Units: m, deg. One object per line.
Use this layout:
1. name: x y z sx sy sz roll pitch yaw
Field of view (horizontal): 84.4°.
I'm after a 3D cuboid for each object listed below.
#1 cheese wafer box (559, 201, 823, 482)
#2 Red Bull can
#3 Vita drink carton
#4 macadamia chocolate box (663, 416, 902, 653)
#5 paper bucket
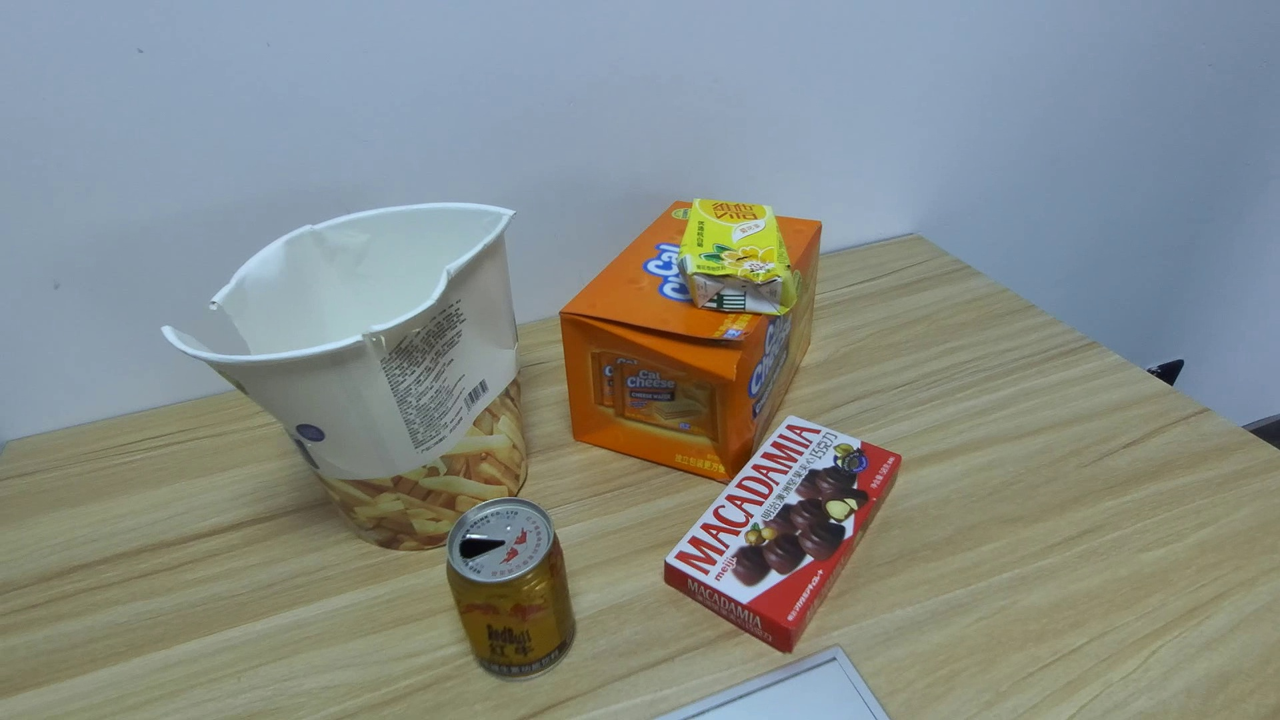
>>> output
1. cheese wafer box: 0.053 -0.029 0.598 0.149 0.137 0.227 14 39 22
2. Red Bull can: -0.074 0.135 0.418 0.068 0.093 0.068 -3 34 2
3. Vita drink carton: 0.070 -0.075 0.525 0.087 0.042 0.108 7 39 0
4. macadamia chocolate box: 0.105 0.110 0.494 0.095 0.027 0.178 21 42 32
5. paper bucket: -0.171 0.016 0.501 0.145 0.197 0.203 4 35 13
